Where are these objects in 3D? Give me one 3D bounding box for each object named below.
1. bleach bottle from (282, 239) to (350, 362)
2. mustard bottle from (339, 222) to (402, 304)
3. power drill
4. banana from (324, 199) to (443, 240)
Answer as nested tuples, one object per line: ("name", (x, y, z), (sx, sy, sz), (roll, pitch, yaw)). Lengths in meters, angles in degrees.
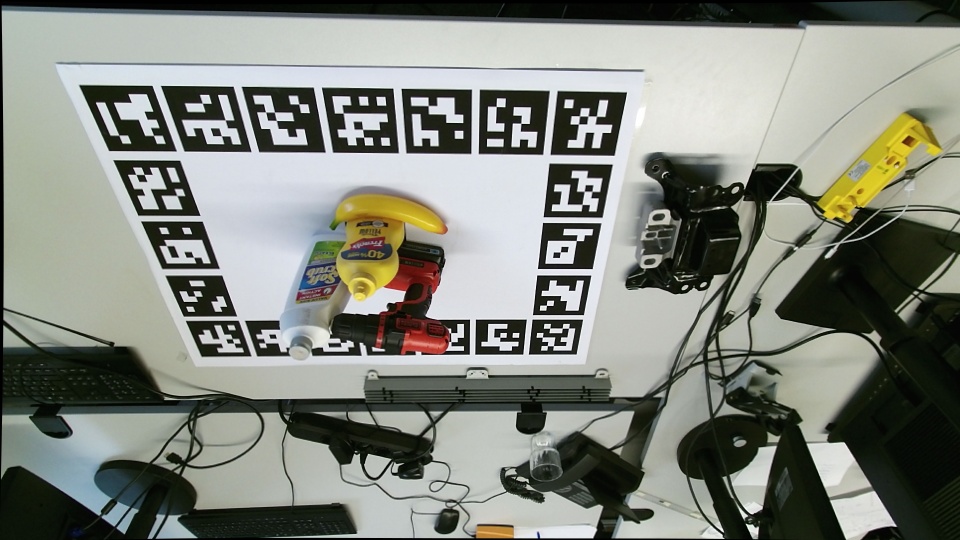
("bleach bottle", (-0.250, 0.051, 0.852), (0.103, 0.249, 0.068), (3, 131, -4))
("mustard bottle", (-0.178, -0.009, 0.841), (0.096, 0.190, 0.058), (1, 125, -2))
("power drill", (-0.140, 0.061, 0.868), (0.185, 0.186, 0.057), (11, 125, -8))
("banana", (-0.159, -0.082, 0.894), (0.198, 0.038, 0.074), (3, 124, -7))
